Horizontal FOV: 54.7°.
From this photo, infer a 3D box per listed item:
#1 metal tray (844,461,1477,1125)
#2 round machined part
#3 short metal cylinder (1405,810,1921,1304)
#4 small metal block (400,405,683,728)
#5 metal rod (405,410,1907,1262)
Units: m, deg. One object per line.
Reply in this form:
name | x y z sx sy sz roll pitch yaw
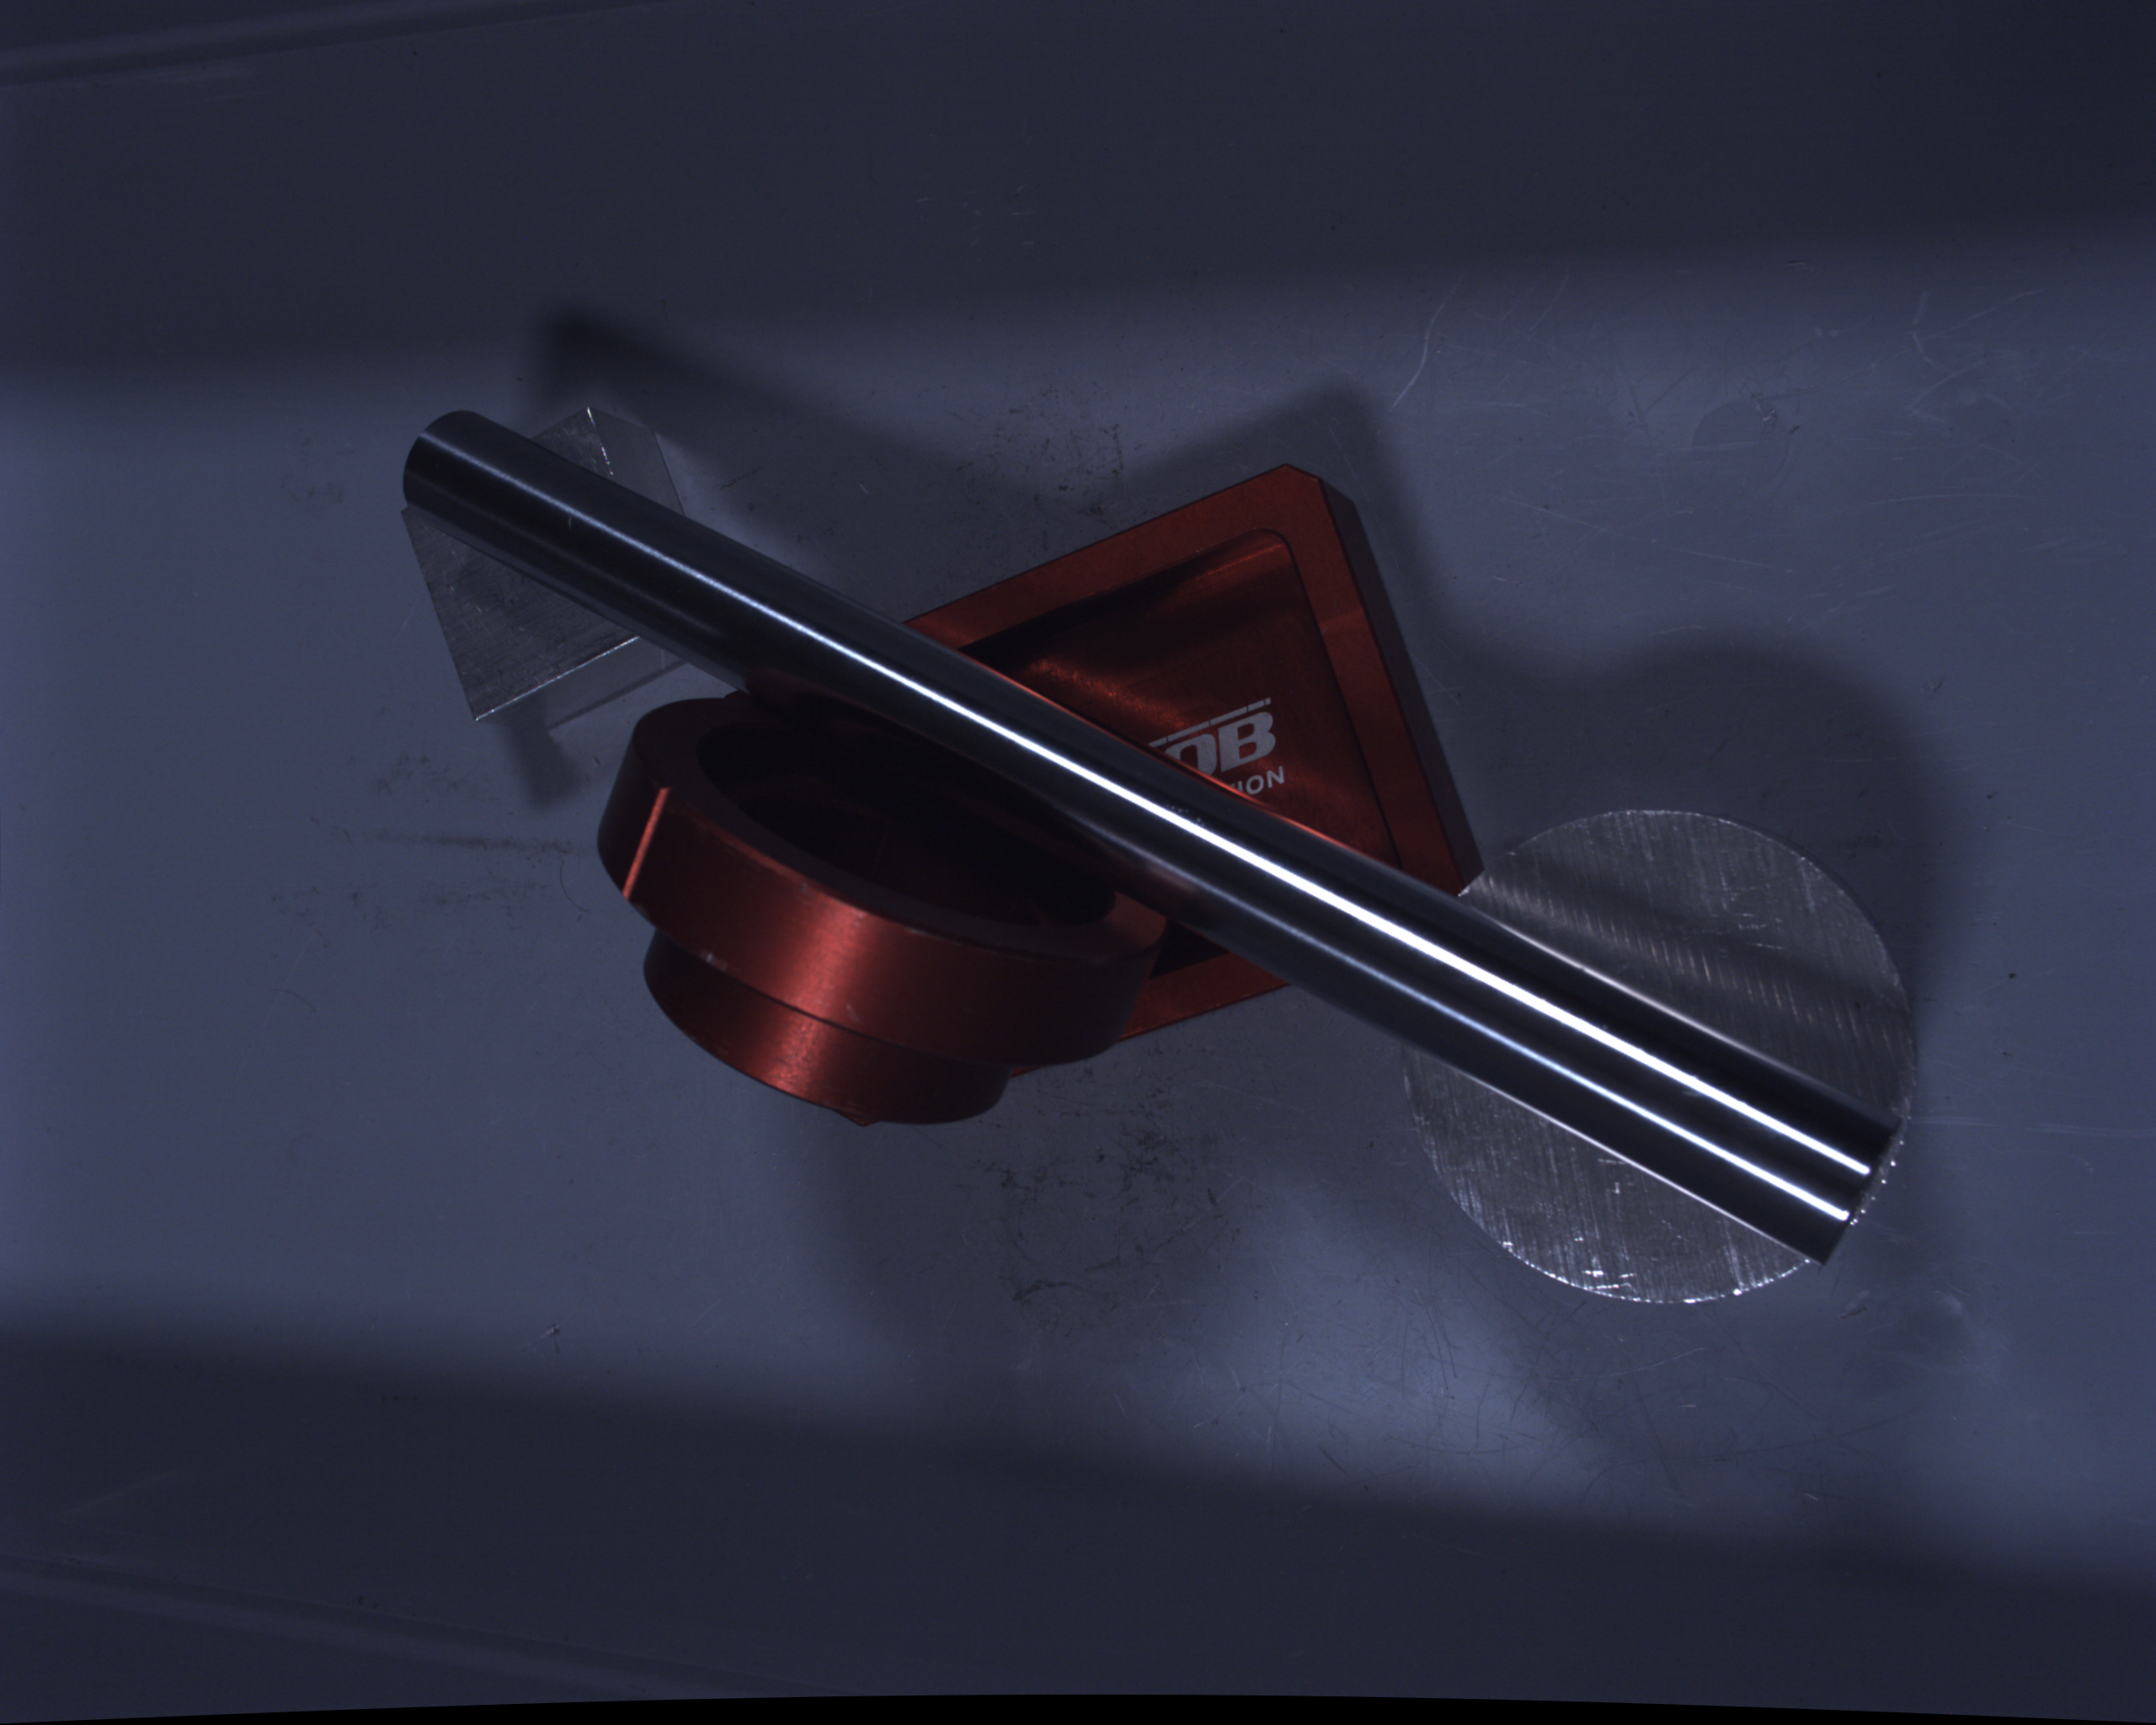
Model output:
metal tray | 0.003 -0.011 0.404 0.130 0.030 0.090 -20 84 18
round machined part | -0.038 0.011 0.369 0.098 0.098 0.042 29 107 17
short metal cylinder | 0.101 0.031 0.360 0.080 0.050 0.079 0 90 19
small metal block | -0.110 -0.062 0.446 0.050 0.025 0.050 -23 83 18
metal rod | -0.006 -0.016 0.367 0.300 0.025 0.025 28 99 24
